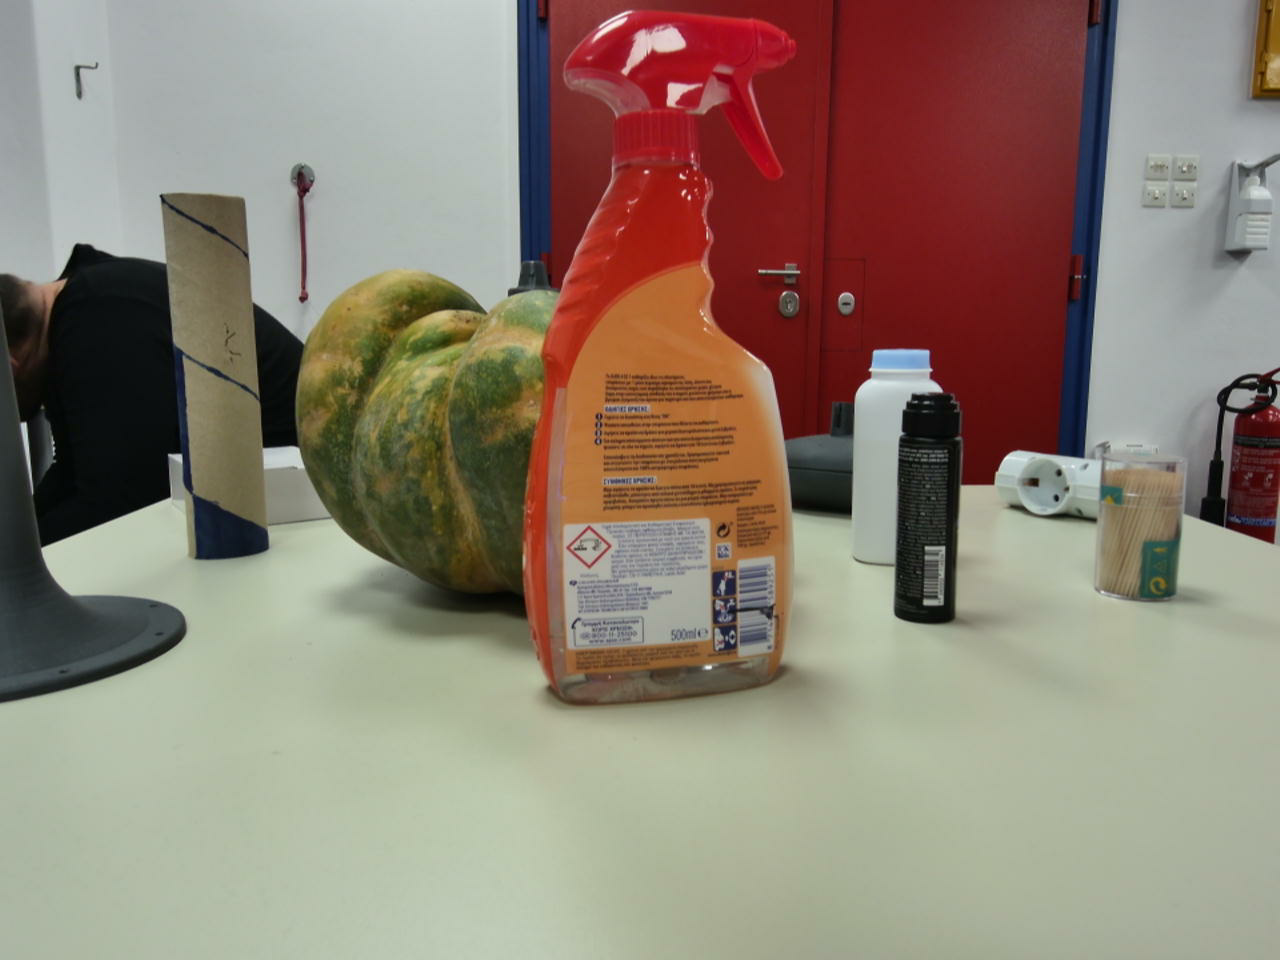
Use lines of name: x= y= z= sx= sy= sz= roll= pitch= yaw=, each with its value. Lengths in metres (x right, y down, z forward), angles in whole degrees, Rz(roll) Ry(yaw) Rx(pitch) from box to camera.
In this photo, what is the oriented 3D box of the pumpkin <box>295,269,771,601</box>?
pumpkin: x=-0.057 y=-0.027 z=0.562 sx=0.270 sy=0.173 sz=0.237 roll=5 pitch=8 yaw=36
